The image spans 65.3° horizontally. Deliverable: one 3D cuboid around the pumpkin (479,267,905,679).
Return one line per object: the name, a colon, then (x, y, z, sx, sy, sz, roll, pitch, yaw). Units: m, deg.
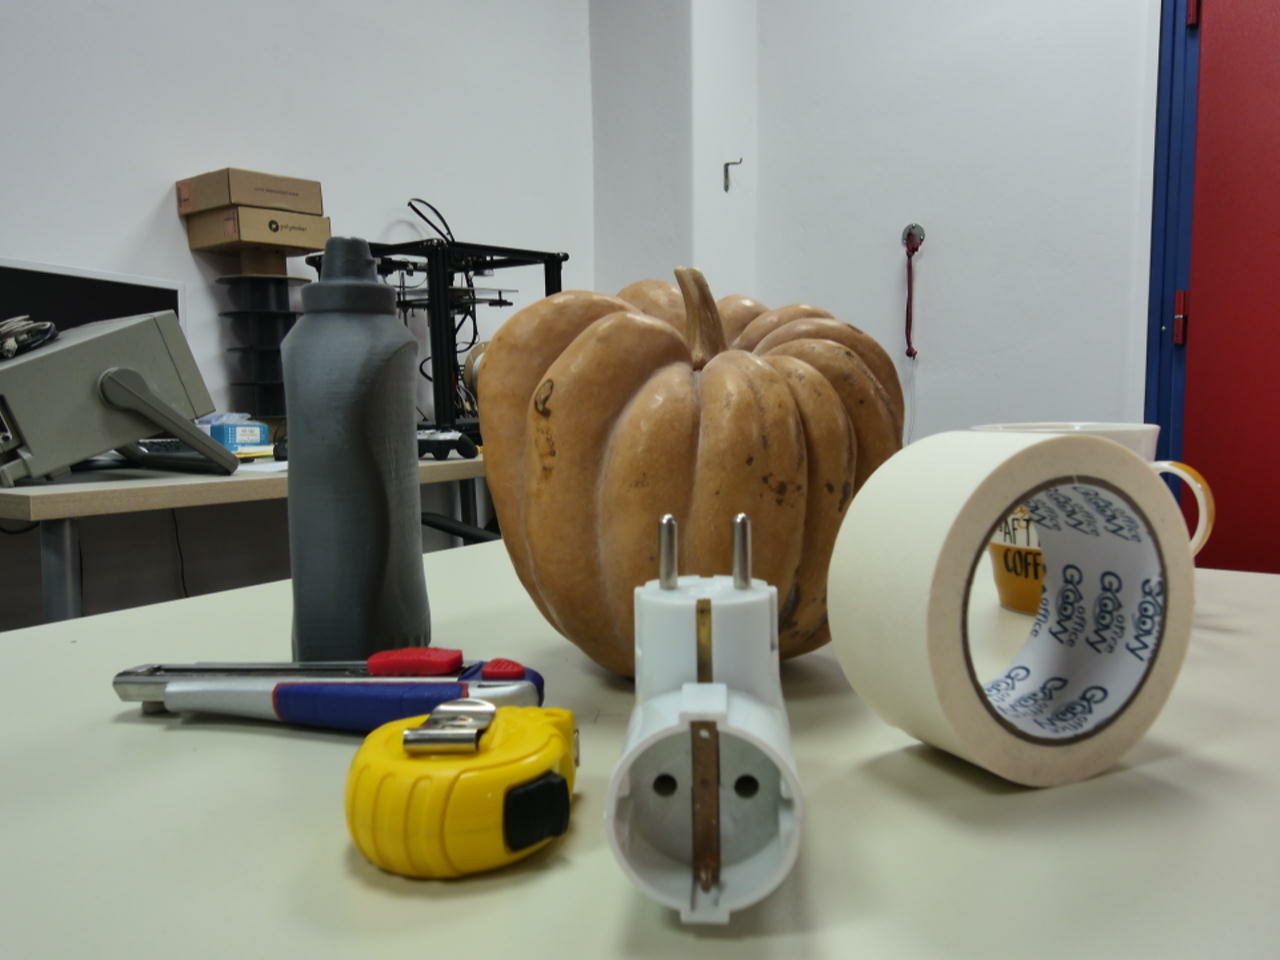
pumpkin: (0.022, -0.005, 0.451, 0.199, 0.177, 0.198, 0, 3, 0)
